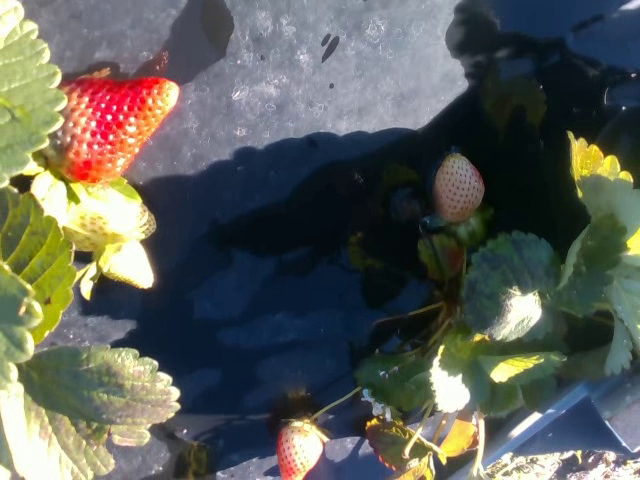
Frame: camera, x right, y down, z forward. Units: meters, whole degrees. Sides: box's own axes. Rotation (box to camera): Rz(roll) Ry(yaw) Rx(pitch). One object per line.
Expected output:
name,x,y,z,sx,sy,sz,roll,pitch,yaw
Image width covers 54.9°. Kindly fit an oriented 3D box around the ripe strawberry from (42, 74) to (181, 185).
ripe strawberry,-0.081,-0.049,0.240,0.064,0.052,0.050,-29,-18,8
